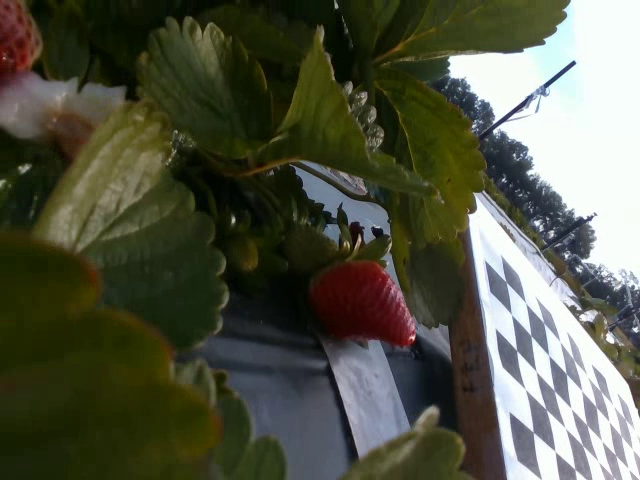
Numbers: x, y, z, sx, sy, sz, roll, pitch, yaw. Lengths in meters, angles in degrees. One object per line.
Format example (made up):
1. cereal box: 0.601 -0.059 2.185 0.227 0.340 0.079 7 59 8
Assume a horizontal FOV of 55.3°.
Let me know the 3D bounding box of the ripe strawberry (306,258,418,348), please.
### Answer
1. ripe strawberry: 0.022 0.026 0.228 0.035 0.055 0.050 -35 -50 11
